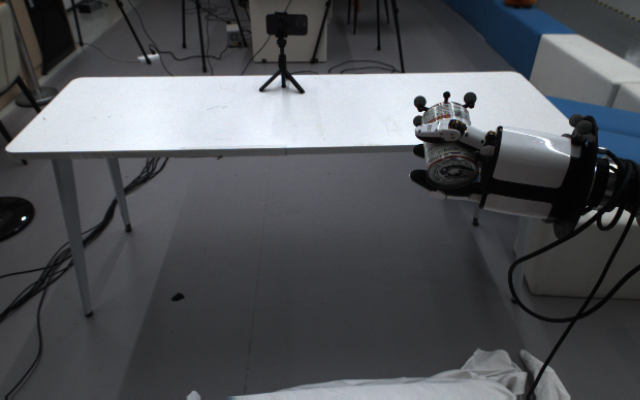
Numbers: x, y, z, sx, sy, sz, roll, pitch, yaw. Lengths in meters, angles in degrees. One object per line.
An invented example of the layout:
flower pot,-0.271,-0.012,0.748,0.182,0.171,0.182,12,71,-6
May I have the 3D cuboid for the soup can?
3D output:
soup can,0.176,-0.075,0.658,0.067,0.067,0.101,3,57,1
